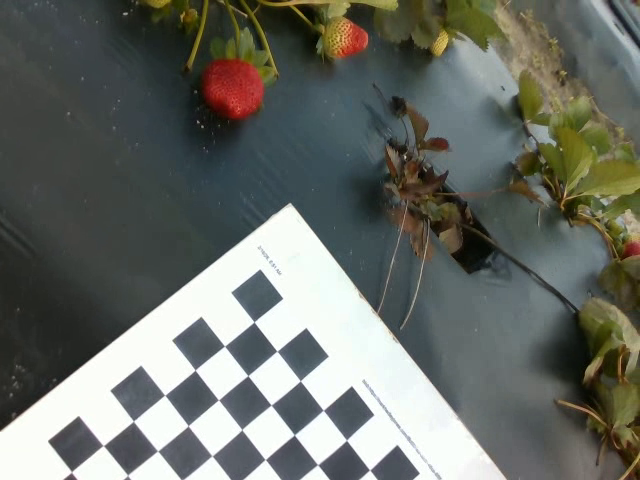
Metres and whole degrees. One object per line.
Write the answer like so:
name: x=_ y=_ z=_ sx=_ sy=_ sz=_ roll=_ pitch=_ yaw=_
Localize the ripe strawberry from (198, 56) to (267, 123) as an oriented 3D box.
ripe strawberry: x=-0.056 y=-0.092 z=0.394 sx=0.045 sy=0.042 sz=0.055 roll=2 pitch=24 yaw=-4
